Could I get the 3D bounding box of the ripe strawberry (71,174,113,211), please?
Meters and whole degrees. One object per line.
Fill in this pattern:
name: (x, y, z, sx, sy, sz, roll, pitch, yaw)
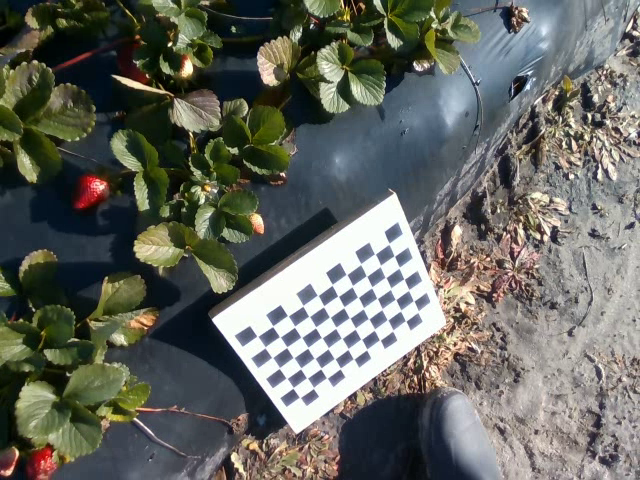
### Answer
ripe strawberry: (-0.260, -0.054, 0.762, 0.044, 0.056, 0.042, 17, -28, 41)
